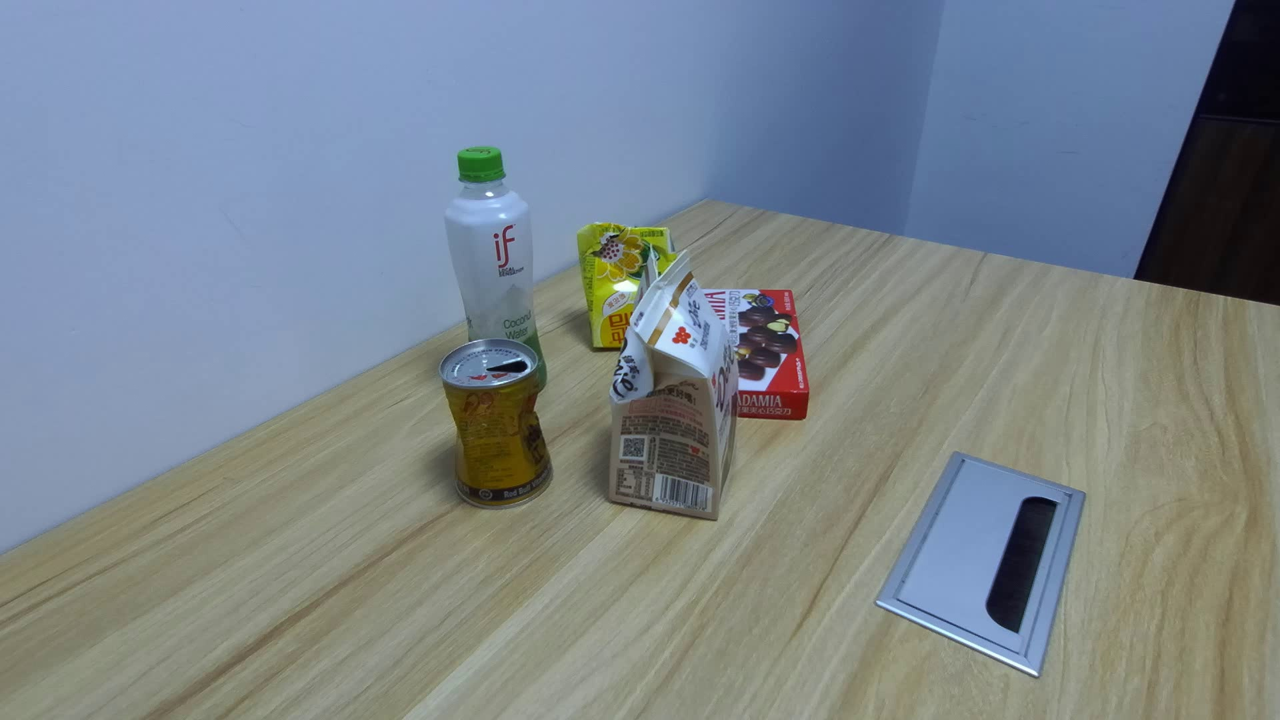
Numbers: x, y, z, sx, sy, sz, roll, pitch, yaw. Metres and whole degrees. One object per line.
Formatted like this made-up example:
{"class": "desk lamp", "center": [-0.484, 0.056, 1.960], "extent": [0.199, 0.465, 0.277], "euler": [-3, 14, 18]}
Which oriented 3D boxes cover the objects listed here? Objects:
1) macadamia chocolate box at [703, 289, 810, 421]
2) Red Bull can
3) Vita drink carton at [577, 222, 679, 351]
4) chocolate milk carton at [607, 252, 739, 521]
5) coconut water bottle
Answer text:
{"class": "macadamia chocolate box", "center": [0.088, -0.011, 0.600], "extent": [0.095, 0.027, 0.178], "euler": [2, 31, 7]}
{"class": "Red Bull can", "center": [-0.092, 0.041, 0.458], "extent": [0.072, 0.092, 0.072], "euler": [-1, 30, 1]}
{"class": "Vita drink carton", "center": [-0.012, -0.067, 0.626], "extent": [0.087, 0.108, 0.042], "euler": [1, 16, 0]}
{"class": "chocolate milk carton", "center": [0.021, 0.012, 0.436], "extent": [0.073, 0.156, 0.076], "euler": [6, 32, 15]}
{"class": "coconut water bottle", "center": [-0.109, -0.061, 0.535], "extent": [0.063, 0.189, 0.063], "euler": [-1, 29, 1]}
